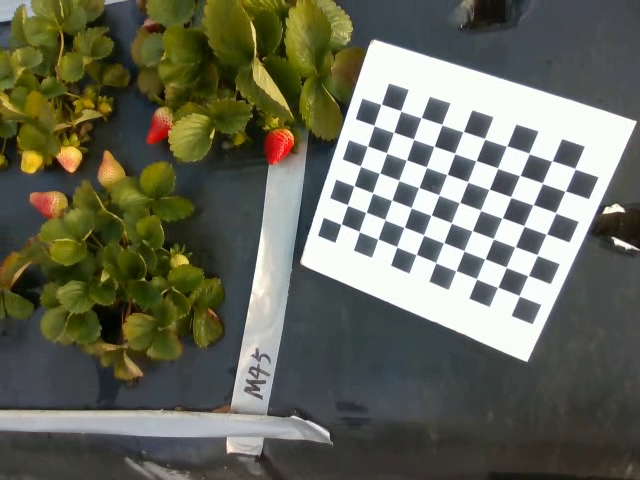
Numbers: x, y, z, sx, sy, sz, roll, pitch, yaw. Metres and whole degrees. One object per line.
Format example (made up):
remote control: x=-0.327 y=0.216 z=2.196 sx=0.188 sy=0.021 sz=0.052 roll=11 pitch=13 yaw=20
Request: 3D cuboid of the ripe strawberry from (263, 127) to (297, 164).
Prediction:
ripe strawberry: x=-0.048 y=-0.103 z=0.663 sx=0.050 sy=0.055 sz=0.036 roll=15 pitch=-6 yaw=10
